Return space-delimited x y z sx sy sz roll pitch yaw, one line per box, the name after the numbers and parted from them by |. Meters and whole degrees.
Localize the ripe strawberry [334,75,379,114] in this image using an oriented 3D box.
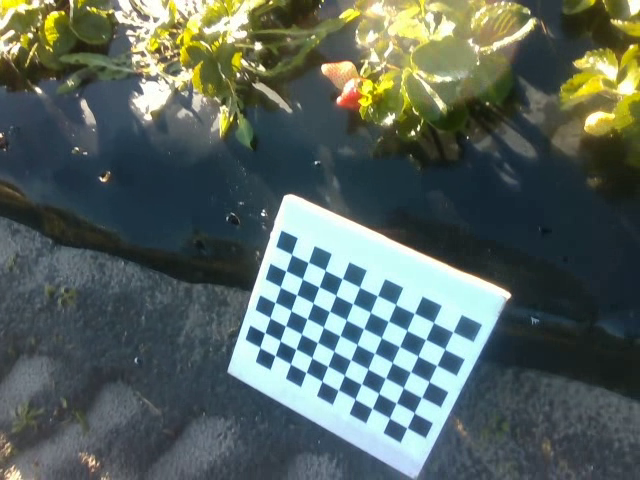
0.037 -0.159 0.567 0.056 0.037 0.040 -13 20 -40 | ripe strawberry
